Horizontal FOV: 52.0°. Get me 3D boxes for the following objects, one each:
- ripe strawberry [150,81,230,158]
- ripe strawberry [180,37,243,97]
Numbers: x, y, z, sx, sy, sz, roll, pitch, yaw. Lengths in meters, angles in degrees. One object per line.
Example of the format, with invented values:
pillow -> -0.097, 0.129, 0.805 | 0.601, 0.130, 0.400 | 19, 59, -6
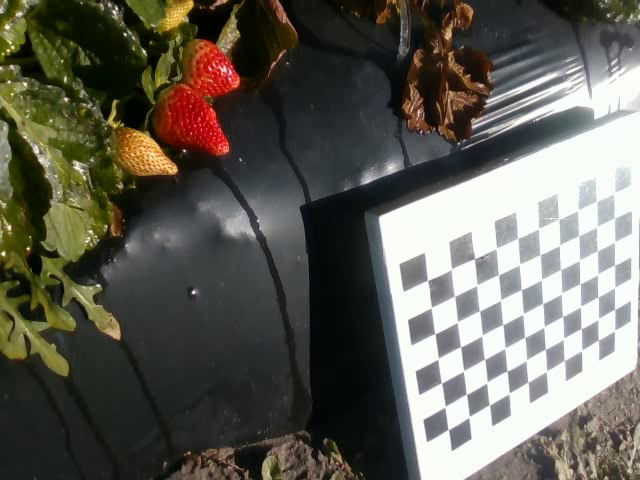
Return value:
ripe strawberry -> -0.070, -0.064, 0.375 | 0.051, 0.037, 0.040 | 33, -6, 3
ripe strawberry -> -0.064, -0.101, 0.388 | 0.041, 0.036, 0.030 | 9, 10, -28
